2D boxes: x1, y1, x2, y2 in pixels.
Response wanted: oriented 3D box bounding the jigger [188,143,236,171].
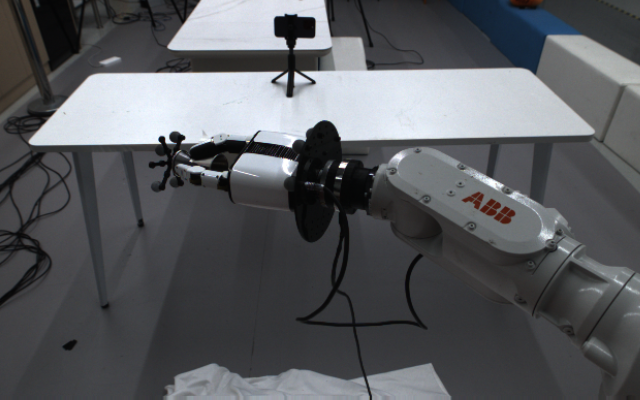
[{"bbox_3d":[-0.167,-0.051,0.692,0.071,0.043,0.043,9,35,22],"label":"jigger"}]
